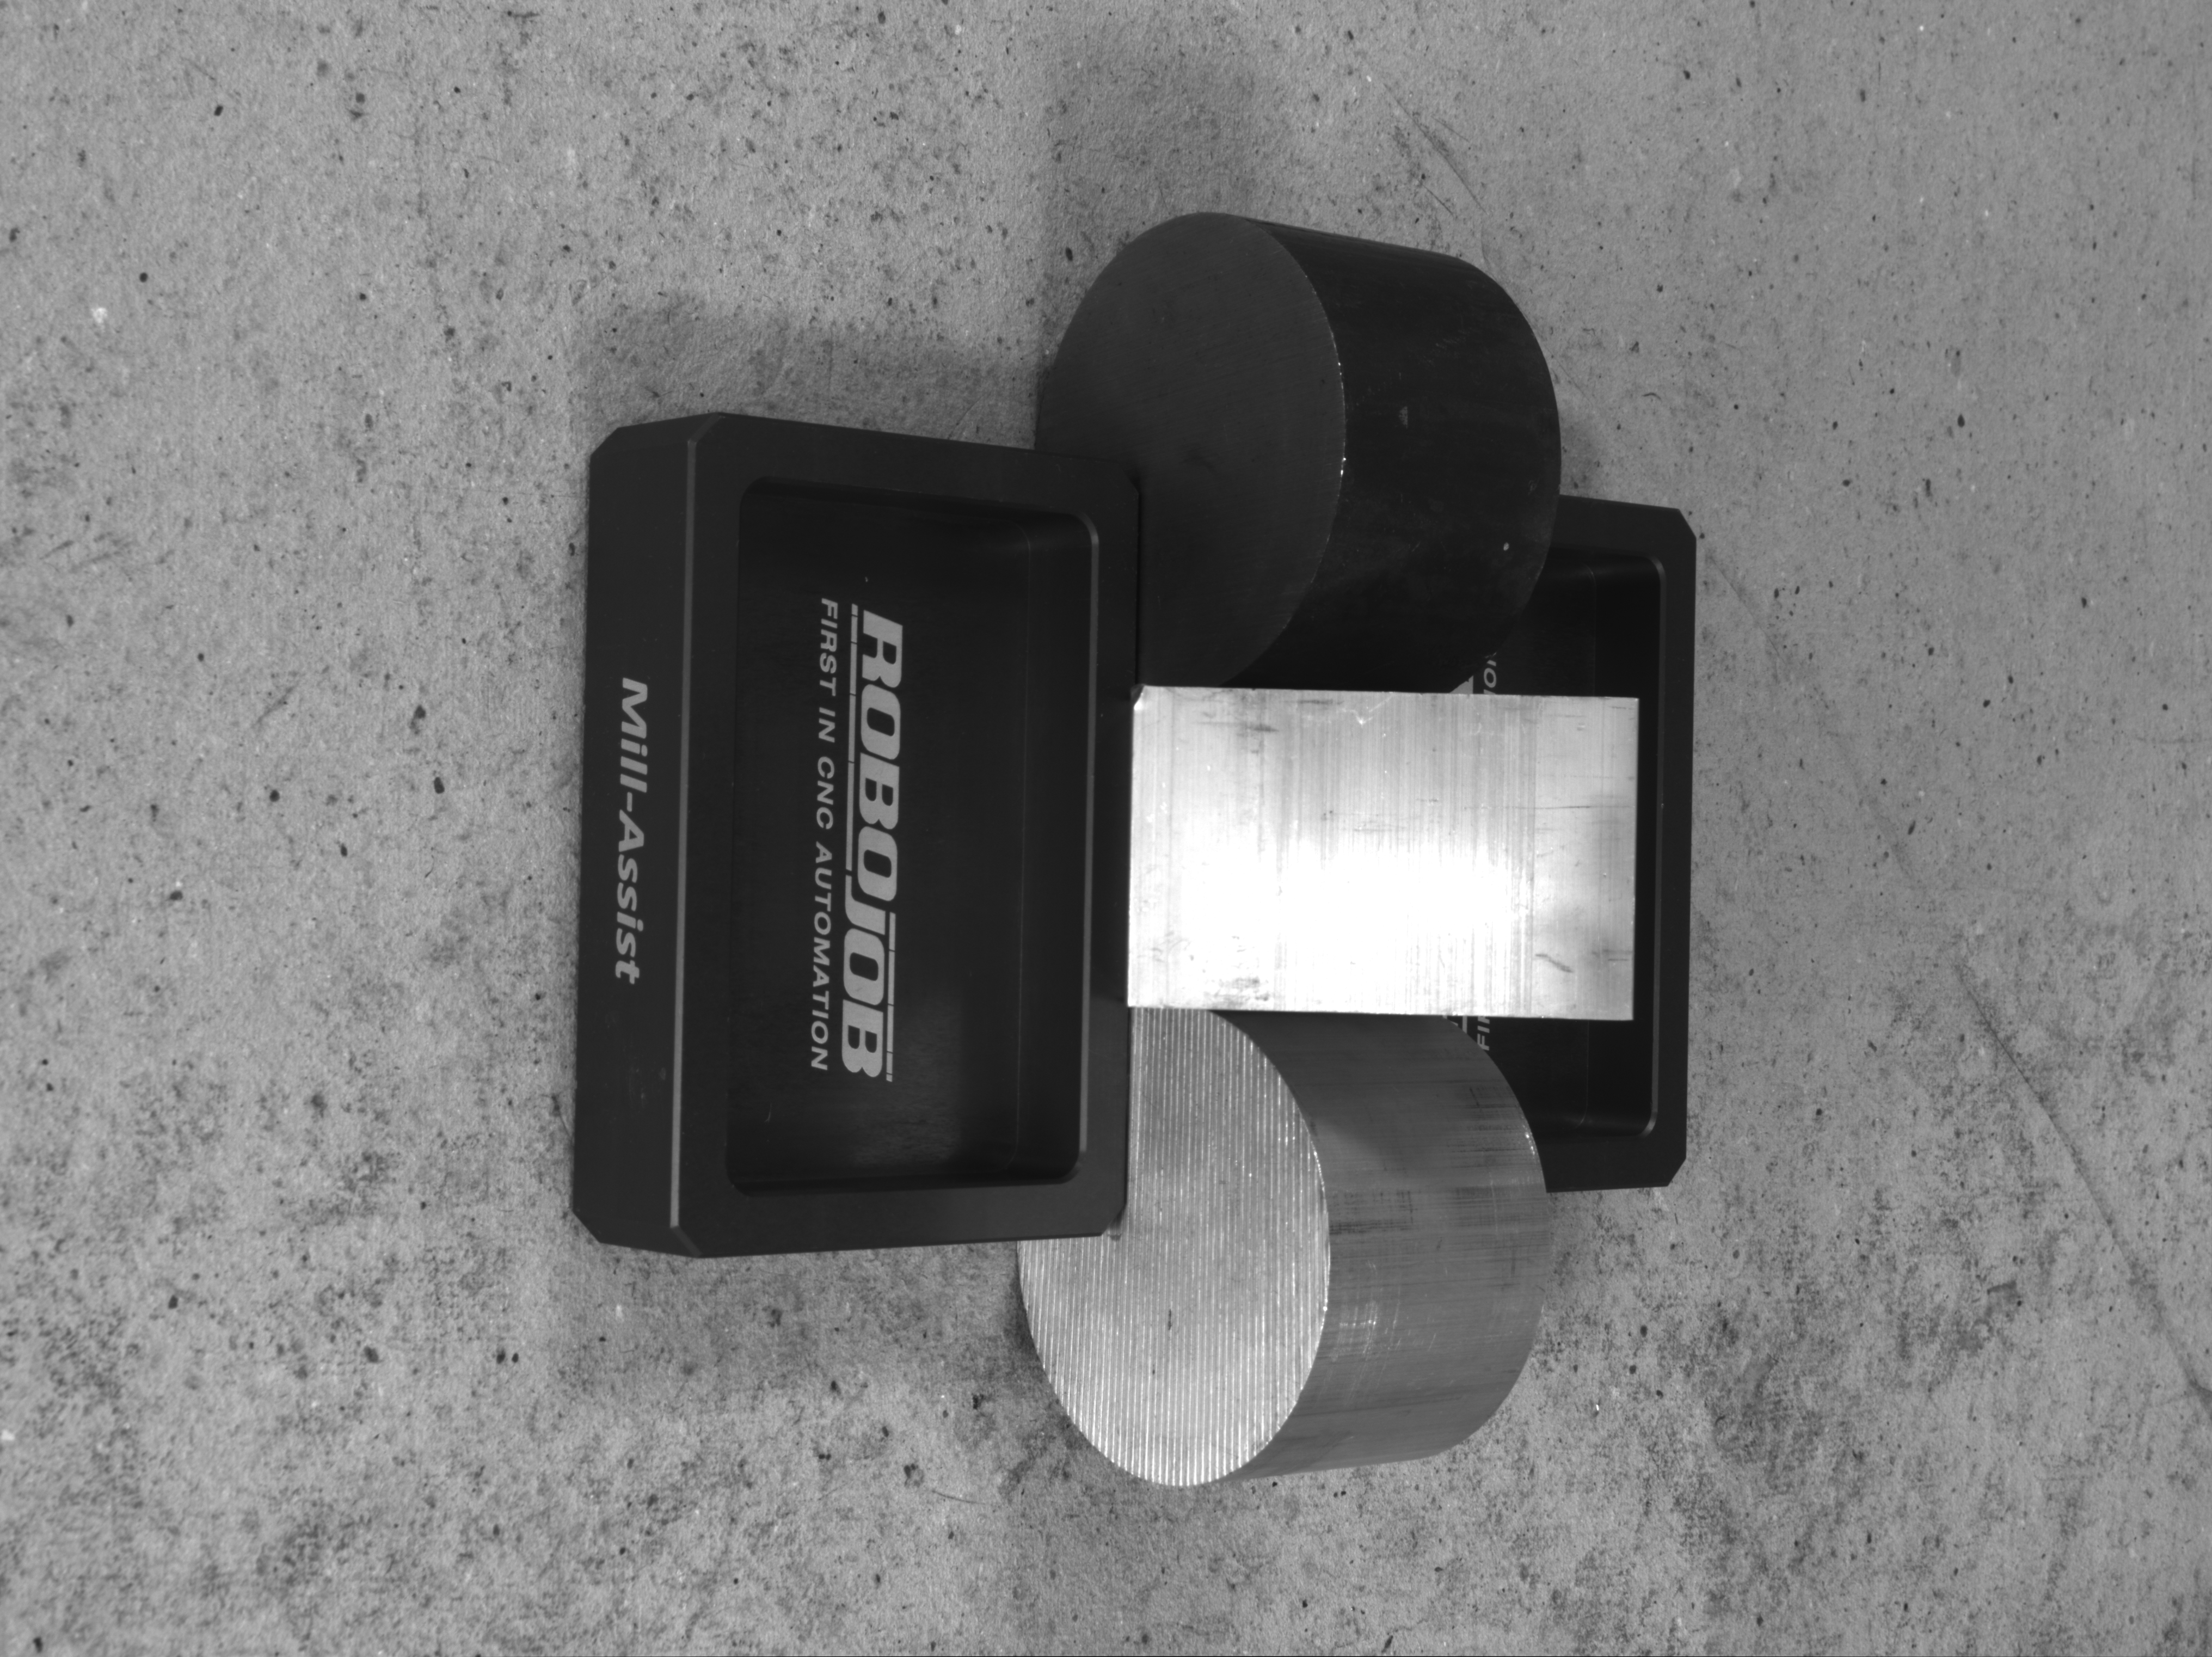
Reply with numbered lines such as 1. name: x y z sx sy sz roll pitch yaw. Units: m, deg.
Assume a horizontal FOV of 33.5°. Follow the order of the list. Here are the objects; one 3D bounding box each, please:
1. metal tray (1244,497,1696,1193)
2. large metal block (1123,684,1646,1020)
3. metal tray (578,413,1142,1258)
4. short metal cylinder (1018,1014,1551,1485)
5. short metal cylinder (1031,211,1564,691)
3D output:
1. metal tray: 0.069 0.003 0.691 0.090 0.030 0.130 2 89 -40
2. large metal block: 0.044 0.004 0.611 0.080 0.080 0.050 1 89 1
3. metal tray: -0.039 0.002 0.602 0.090 0.030 0.130 2 89 -40
4. short metal cylinder: 0.029 0.069 0.625 0.050 0.080 0.080 3 88 -40
5. short metal cylinder: 0.032 -0.062 0.627 0.050 0.080 0.080 3 88 -40
